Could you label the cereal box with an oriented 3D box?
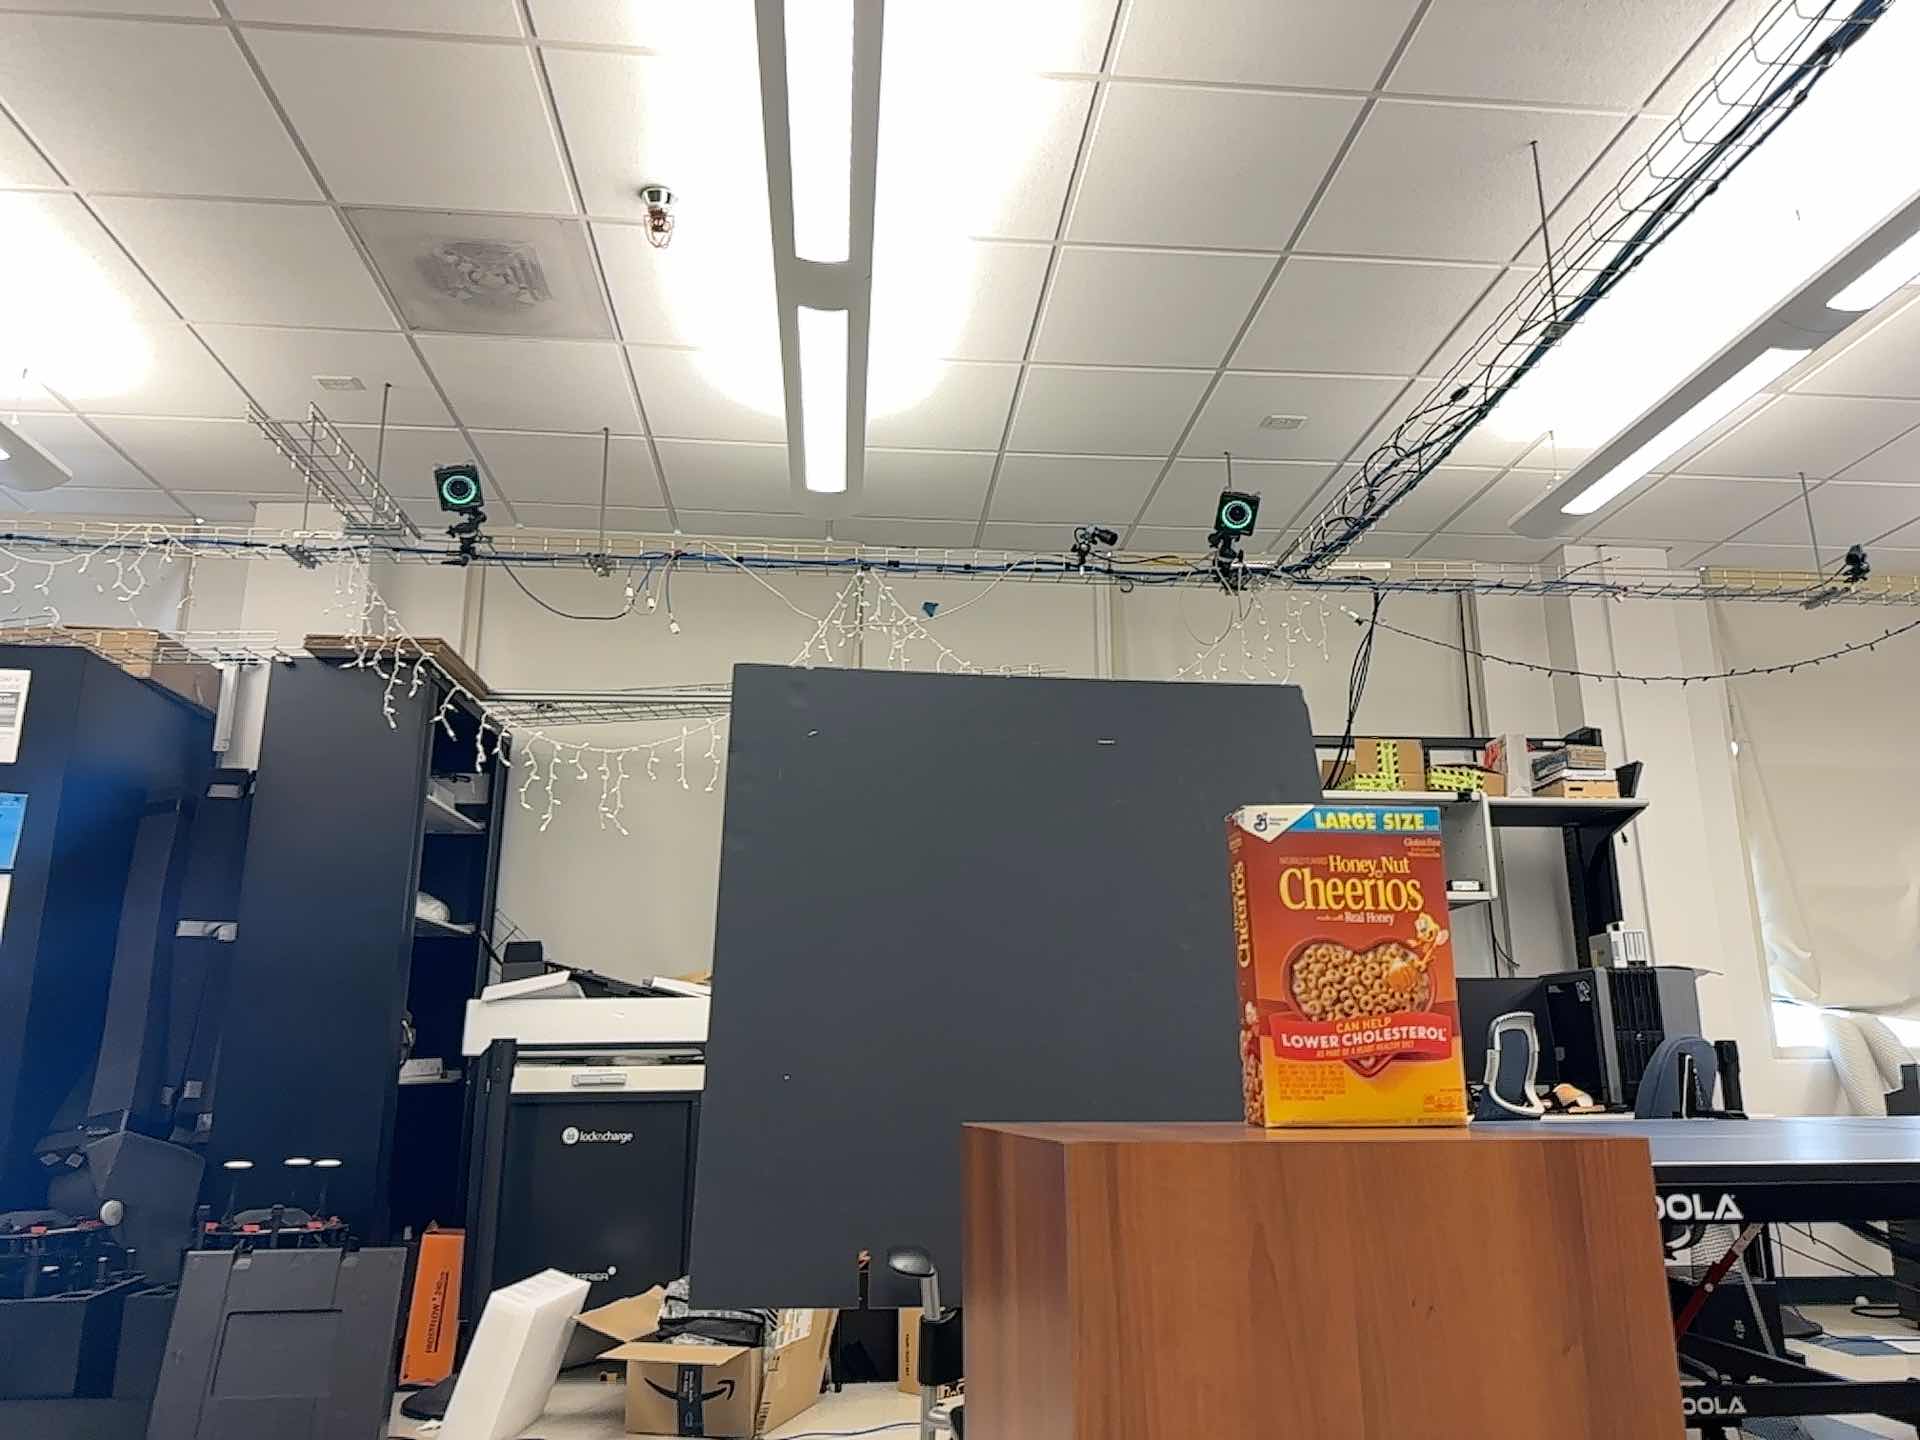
[{"bbox_3d":[0.377,0.237,1.318,0.195,0.297,0.065,0,-11,1],"label":"cereal box"}]
